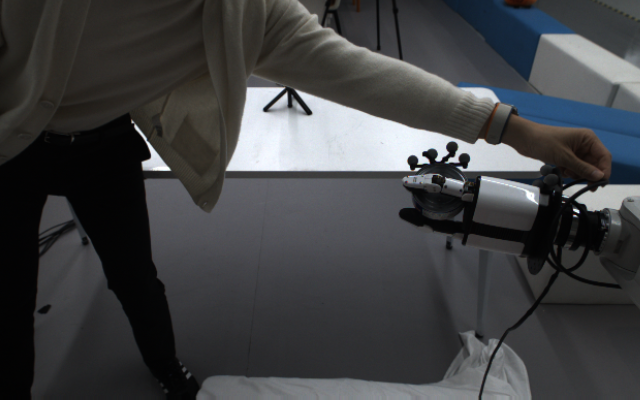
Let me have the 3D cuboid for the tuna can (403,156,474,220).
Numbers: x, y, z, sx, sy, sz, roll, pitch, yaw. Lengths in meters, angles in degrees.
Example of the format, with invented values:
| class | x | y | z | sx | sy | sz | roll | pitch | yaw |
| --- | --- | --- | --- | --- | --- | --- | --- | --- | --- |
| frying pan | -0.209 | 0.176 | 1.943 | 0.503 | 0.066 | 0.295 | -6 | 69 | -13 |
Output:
| class | x | y | z | sx | sy | sz | roll | pitch | yaw |
| --- | --- | --- | --- | --- | --- | --- | --- | --- | --- |
| tuna can | 0.183 | -0.013 | 0.747 | 0.085 | 0.034 | 0.085 | -6 | 62 | 10 |
